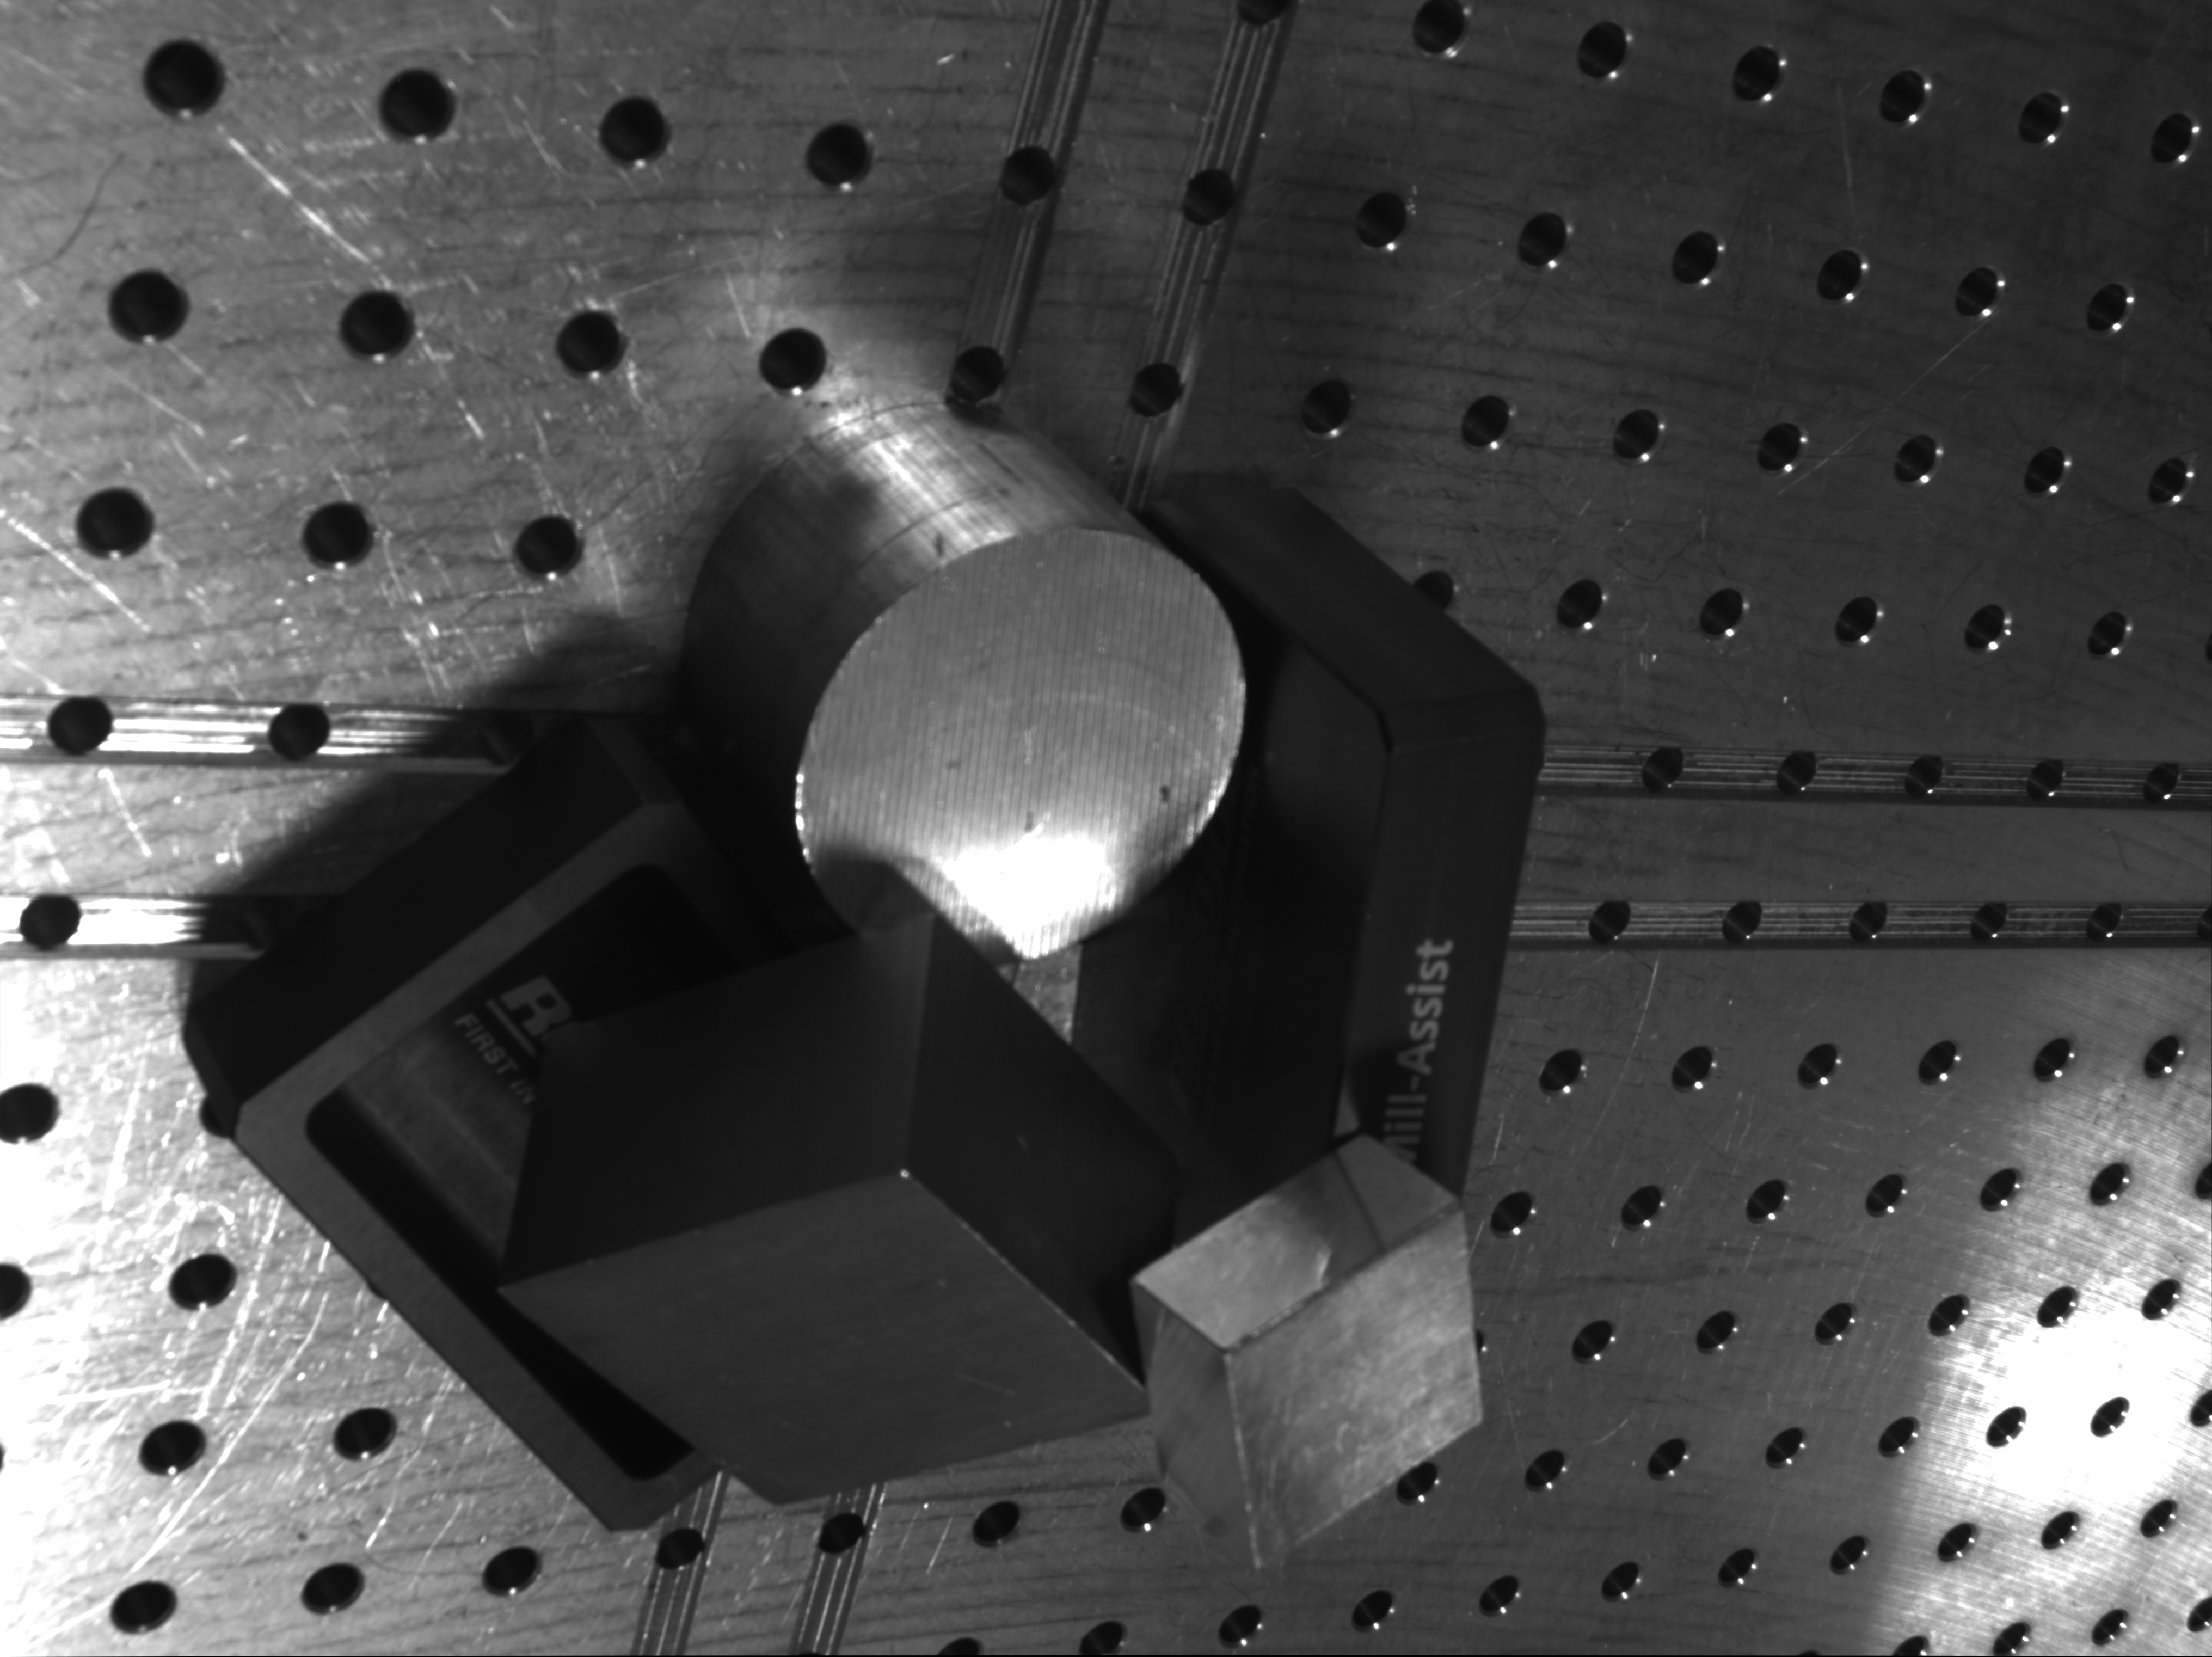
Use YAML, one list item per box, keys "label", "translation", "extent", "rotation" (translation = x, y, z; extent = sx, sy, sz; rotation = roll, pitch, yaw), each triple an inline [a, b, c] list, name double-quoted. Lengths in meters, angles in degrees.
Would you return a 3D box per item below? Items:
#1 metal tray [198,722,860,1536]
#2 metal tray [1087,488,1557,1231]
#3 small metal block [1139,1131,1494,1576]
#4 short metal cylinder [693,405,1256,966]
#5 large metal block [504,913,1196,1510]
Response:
- label: "metal tray"
  translation: [-0.083, 0.055, 0.635]
  extent: [0.090, 0.030, 0.130]
  rotation: [-37, 130, -5]
- label: "metal tray"
  translation: [0.034, 0.017, 0.642]
  extent: [0.030, 0.090, 0.130]
  rotation: [-9, 122, -26]
- label: "small metal block"
  translation: [0.036, 0.086, 0.605]
  extent: [0.050, 0.025, 0.050]
  rotation: [-29, 130, -26]
- label: "short metal cylinder"
  translation: [-0.022, -0.024, 0.610]
  extent: [0.080, 0.050, 0.080]
  rotation: [-15, 125, -22]
- label: "large metal block"
  translation: [-0.041, 0.067, 0.614]
  extent: [0.080, 0.050, 0.080]
  rotation: [-18, 136, 26]
